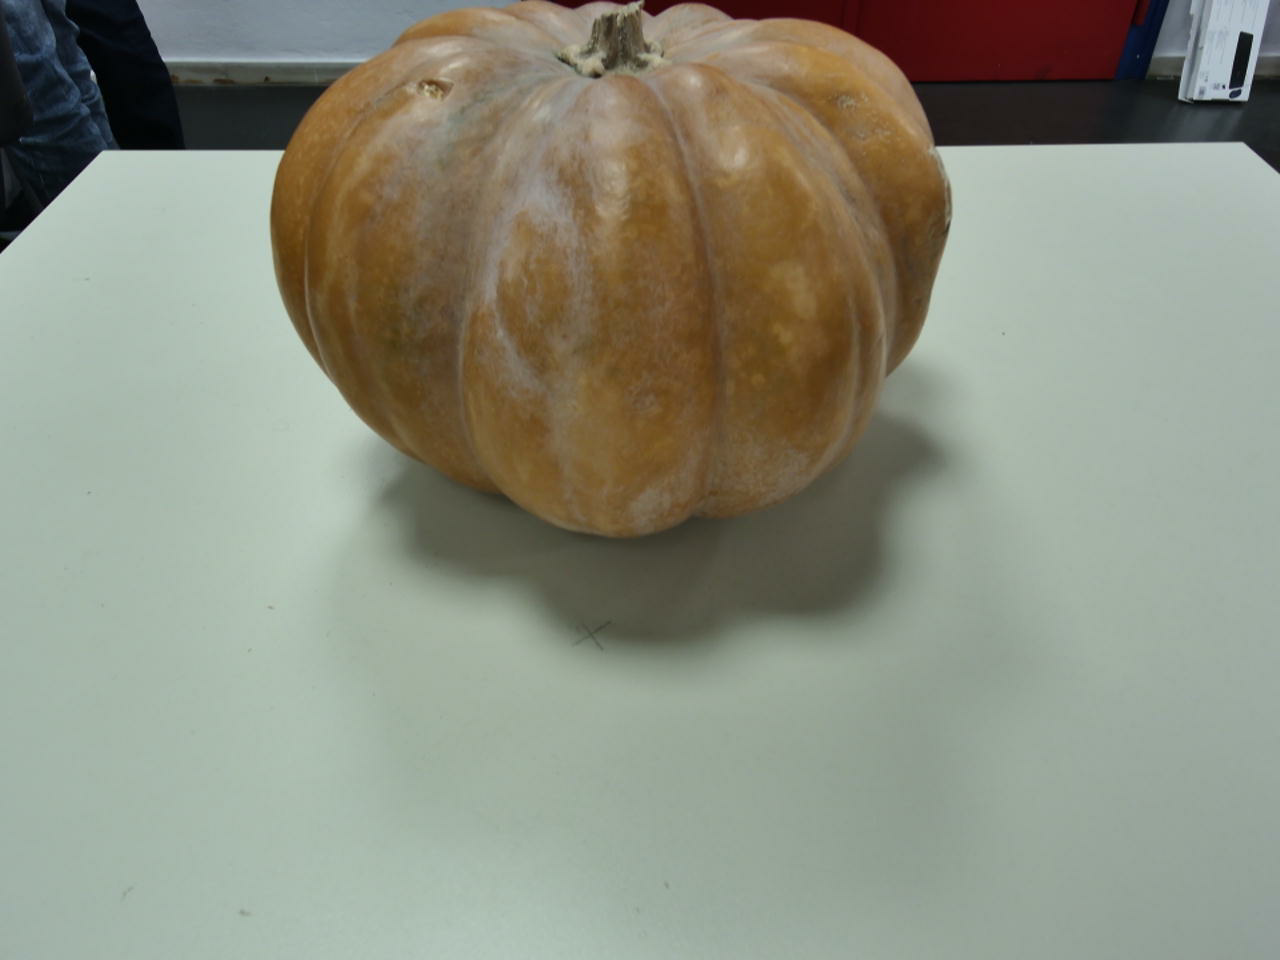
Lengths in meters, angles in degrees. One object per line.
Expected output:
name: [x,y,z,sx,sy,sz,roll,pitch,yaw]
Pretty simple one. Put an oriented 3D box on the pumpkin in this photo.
pumpkin: [-0.009,-0.096,0.410,0.277,0.181,0.277,0,39,0]
